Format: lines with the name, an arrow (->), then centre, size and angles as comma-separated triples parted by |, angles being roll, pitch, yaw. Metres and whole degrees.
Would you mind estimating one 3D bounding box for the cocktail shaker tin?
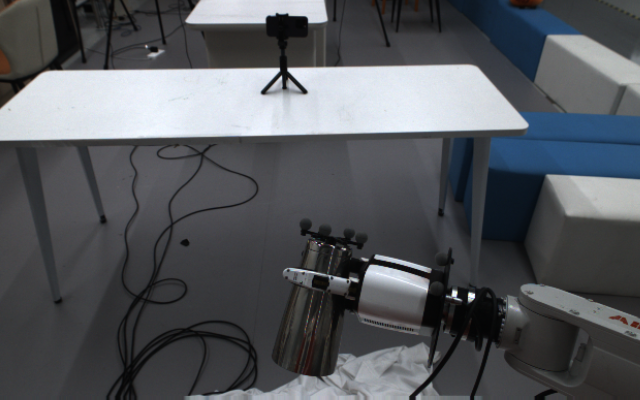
cocktail shaker tin -> -0.001, 0.142, 0.675 | 0.093, 0.170, 0.093 | 13, 1, 0
